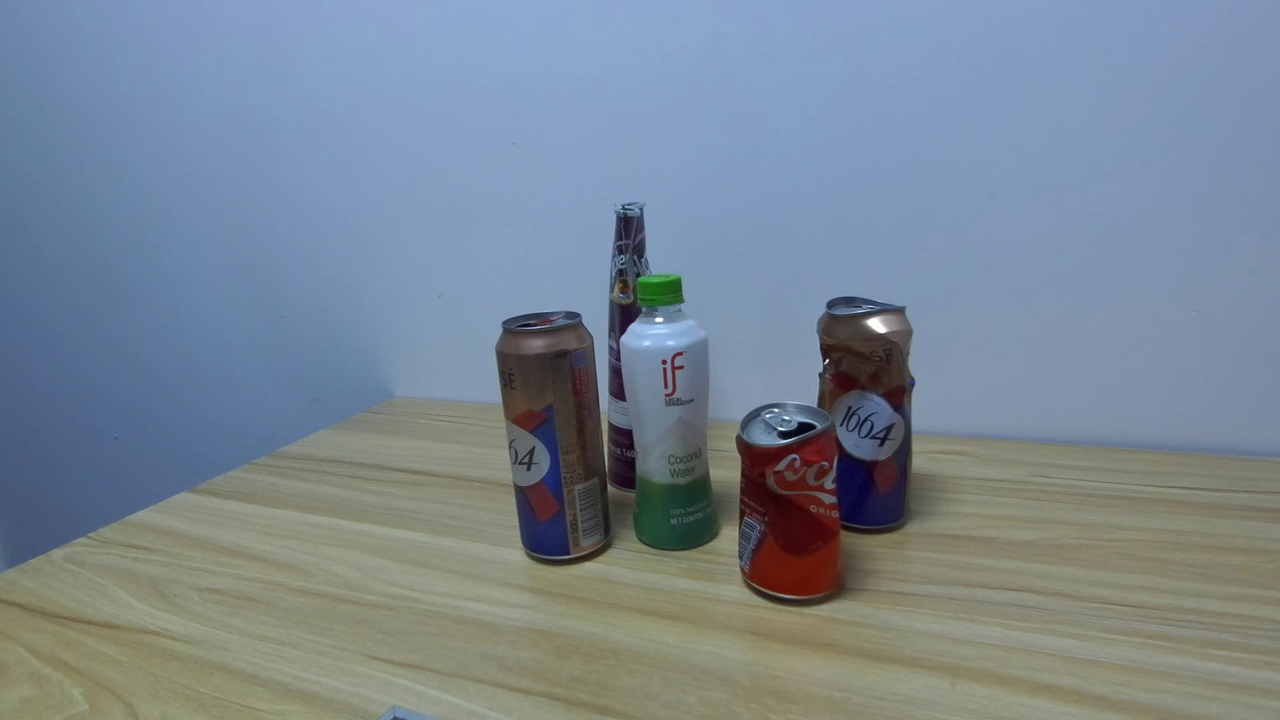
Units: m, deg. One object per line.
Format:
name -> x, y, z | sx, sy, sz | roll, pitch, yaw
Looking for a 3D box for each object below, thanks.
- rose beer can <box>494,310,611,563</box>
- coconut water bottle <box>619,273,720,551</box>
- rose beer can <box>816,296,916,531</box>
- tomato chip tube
rose beer can -> -0.059, 0.056, 0.500 | 0.068, 0.169, 0.068 | -4, 14, 1
coconut water bottle -> 0.020, 0.036, 0.500 | 0.063, 0.188, 0.063 | -5, 14, 1
rose beer can -> 0.160, 0.039, 0.507 | 0.073, 0.162, 0.068 | 6, 17, 27
tomato chip tube -> 0.005, -0.009, 0.582 | 0.077, 0.236, 0.090 | 6, 18, 44
